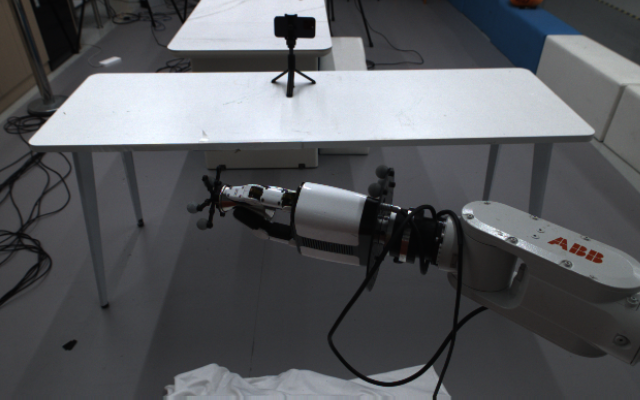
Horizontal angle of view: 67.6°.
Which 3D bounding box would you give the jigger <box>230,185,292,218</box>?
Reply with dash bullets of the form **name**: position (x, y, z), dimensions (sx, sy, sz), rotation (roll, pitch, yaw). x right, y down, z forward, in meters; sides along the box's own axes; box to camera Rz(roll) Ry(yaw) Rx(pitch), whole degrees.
- **jigger**: position (-0.093, -0.002, 0.661), dimensions (0.071, 0.043, 0.043), rotation (8, 35, 15)
